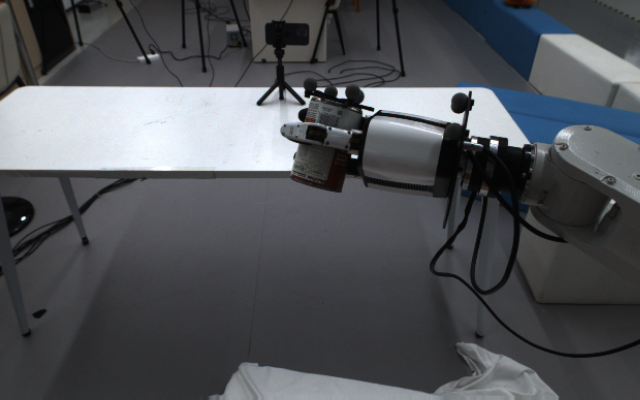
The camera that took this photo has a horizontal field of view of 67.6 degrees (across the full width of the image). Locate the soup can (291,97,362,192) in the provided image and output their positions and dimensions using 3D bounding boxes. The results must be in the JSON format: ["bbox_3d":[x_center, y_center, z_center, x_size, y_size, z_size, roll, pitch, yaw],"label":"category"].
[{"bbox_3d":[0.008,-0.066,0.594,0.067,0.101,0.067,15,7,-2],"label":"soup can"}]
